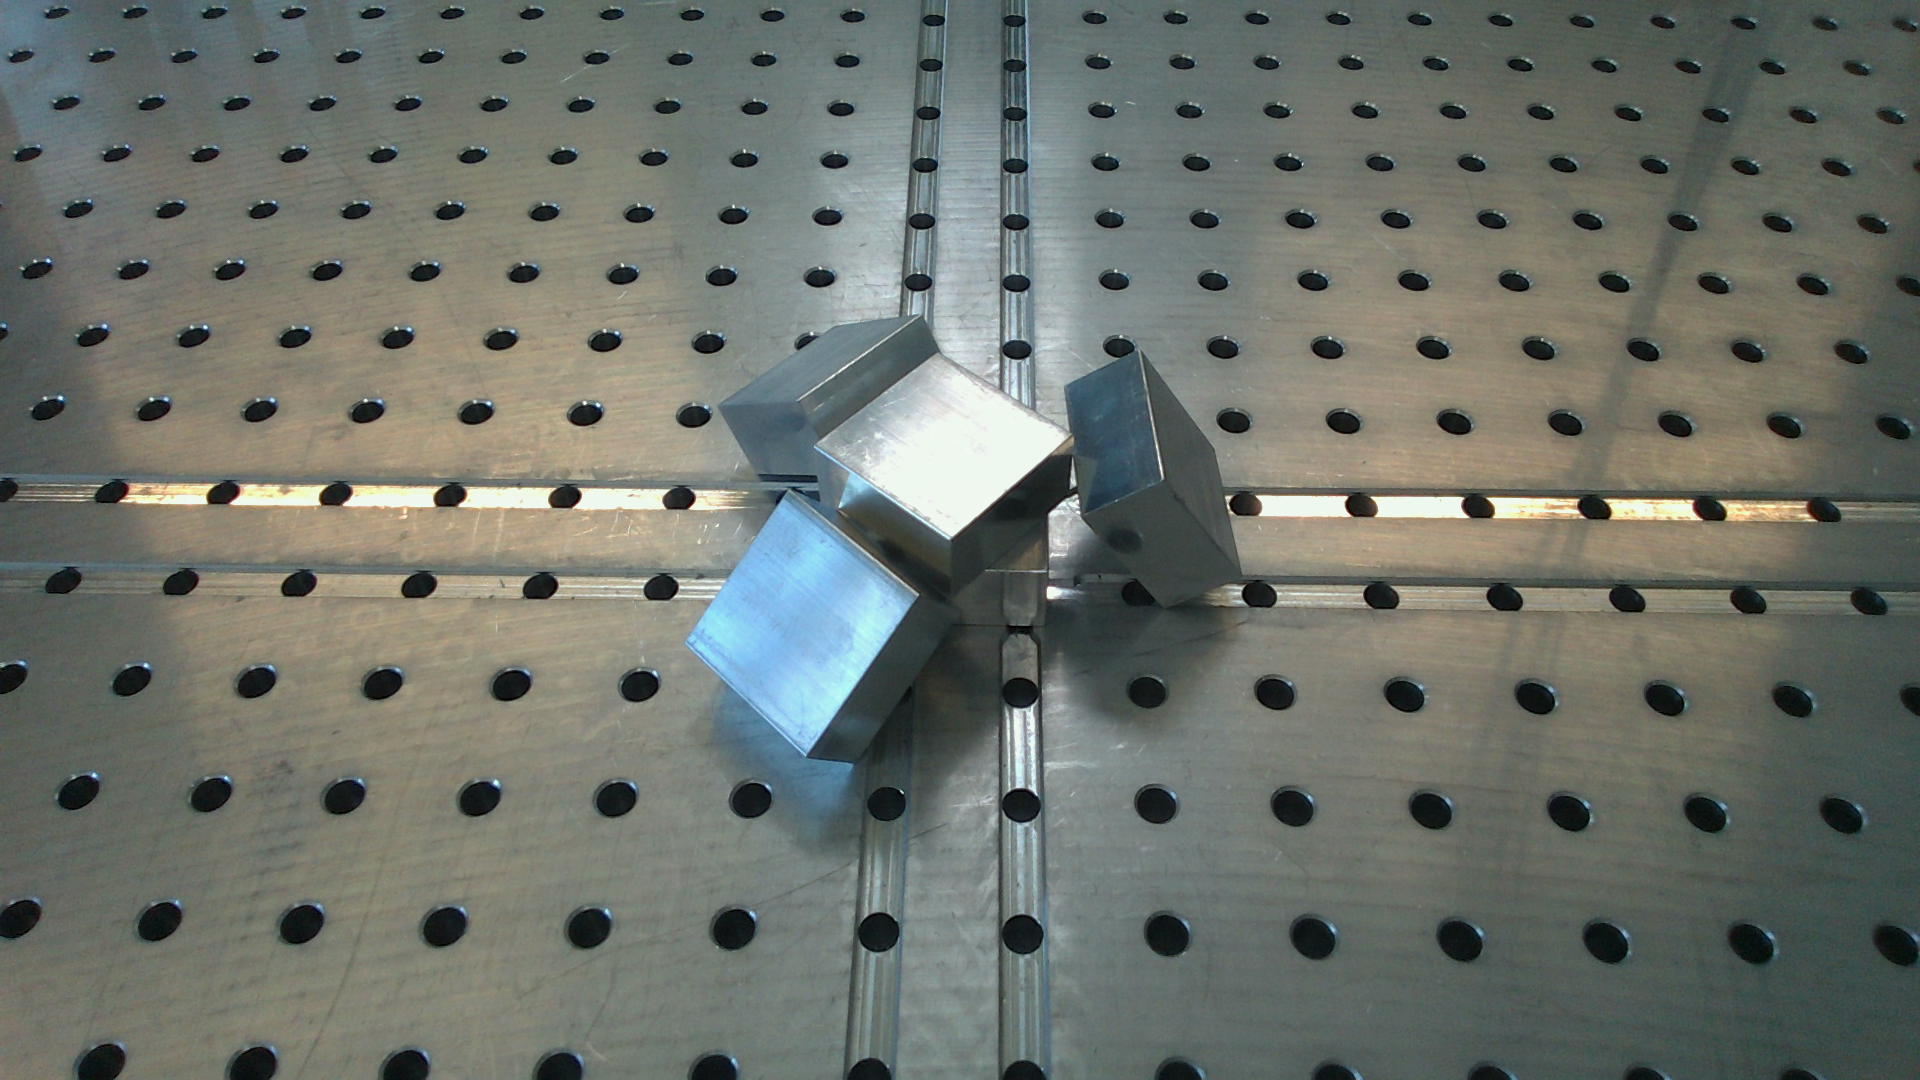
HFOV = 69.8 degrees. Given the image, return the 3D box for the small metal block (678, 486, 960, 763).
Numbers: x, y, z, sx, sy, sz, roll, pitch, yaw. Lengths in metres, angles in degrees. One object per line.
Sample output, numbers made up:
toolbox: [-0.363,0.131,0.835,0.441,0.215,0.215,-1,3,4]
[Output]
small metal block: [-0.037,0.022,0.359,0.050,0.025,0.050,37,96,27]

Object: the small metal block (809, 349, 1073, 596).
small metal block: [-0.005,-0.019,0.378,0.050,0.025,0.050,34,57,25]

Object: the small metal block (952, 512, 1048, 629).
small metal block: [0.000,-0.003,0.397,0.050,0.025,0.050,1,52,1]

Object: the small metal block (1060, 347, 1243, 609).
small metal block: [0.054,-0.017,0.389,0.025,0.050,0.050,-24,46,23]

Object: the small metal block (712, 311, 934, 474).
small metal block: [-0.038,-0.044,0.415,0.050,0.025,0.050,-39,24,-28]
